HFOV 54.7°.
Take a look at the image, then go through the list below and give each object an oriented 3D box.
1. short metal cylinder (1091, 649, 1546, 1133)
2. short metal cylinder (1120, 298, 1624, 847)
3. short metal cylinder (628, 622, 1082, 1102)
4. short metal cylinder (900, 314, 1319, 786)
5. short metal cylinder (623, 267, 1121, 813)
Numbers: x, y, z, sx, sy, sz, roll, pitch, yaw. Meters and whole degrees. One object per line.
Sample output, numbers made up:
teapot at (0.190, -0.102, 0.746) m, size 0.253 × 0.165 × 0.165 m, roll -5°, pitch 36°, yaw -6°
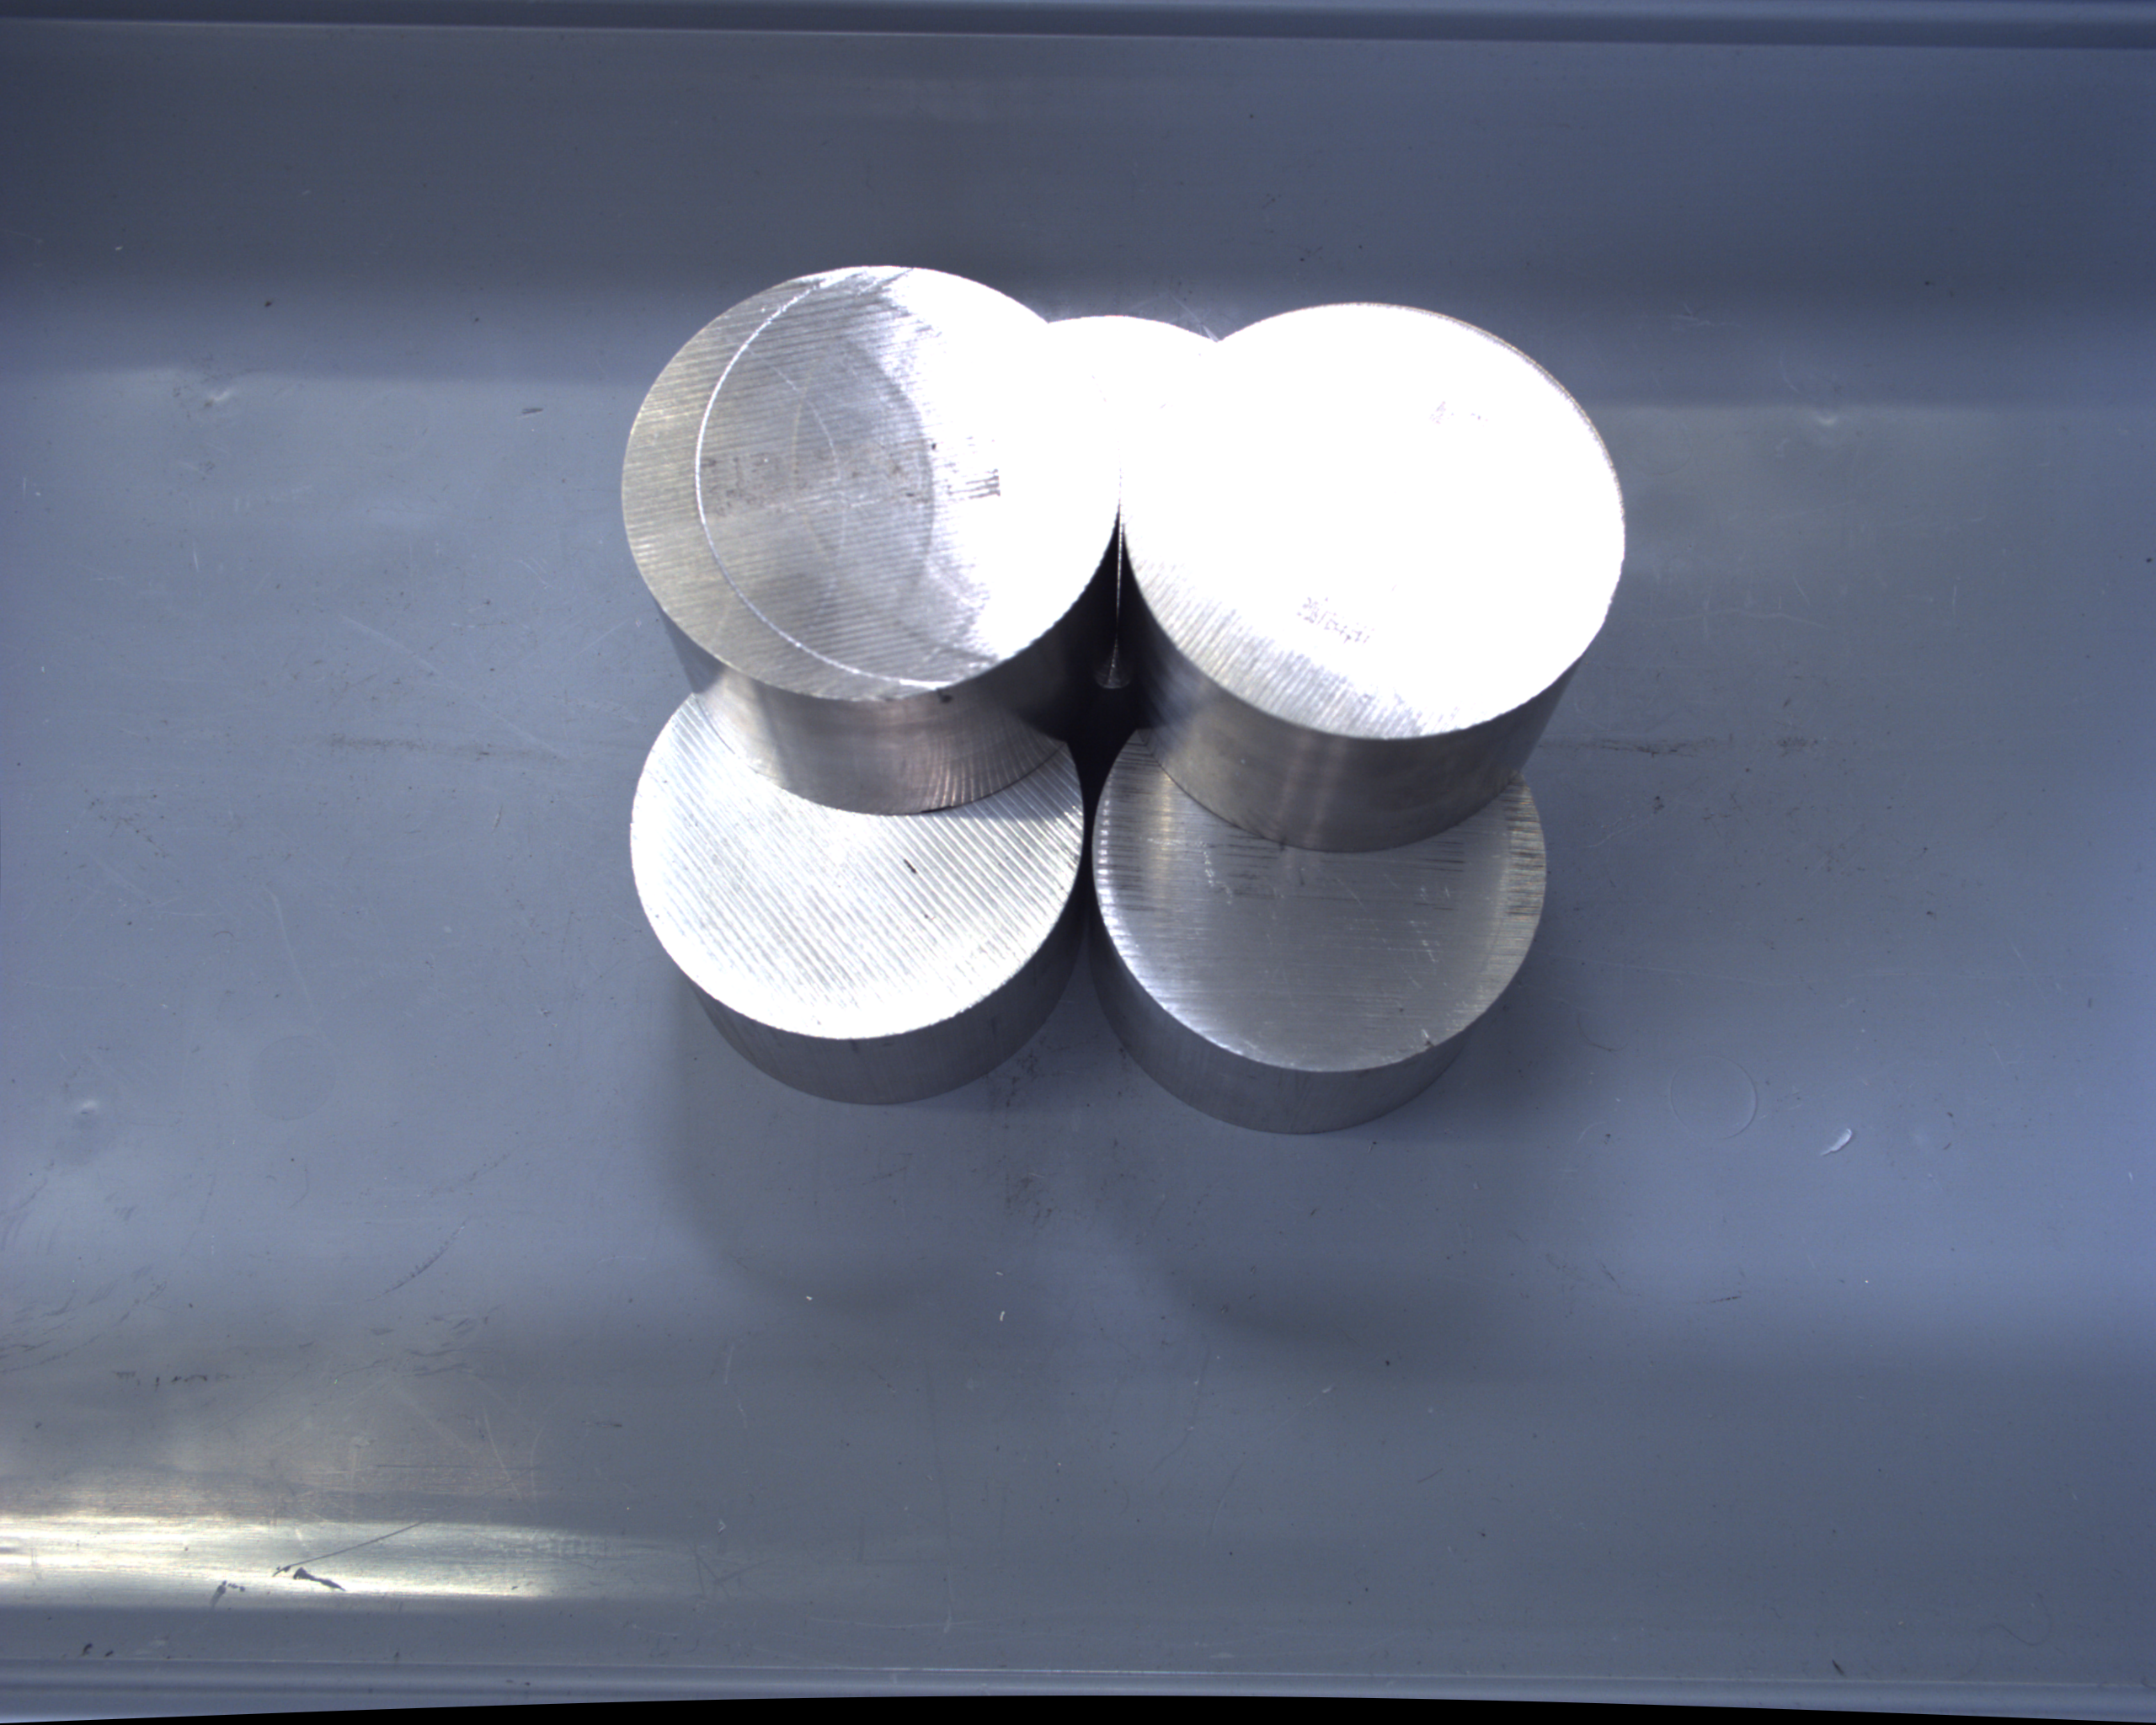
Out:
short metal cylinder at (0.043, 0.006, 0.392) m, size 0.081 × 0.050 × 0.080 m, roll 0°, pitch 70°, yaw 0°
short metal cylinder at (0.047, -0.049, 0.359) m, size 0.081 × 0.050 × 0.080 m, roll 0°, pitch 70°, yaw 0°
short metal cylinder at (-0.039, 0.001, 0.394) m, size 0.081 × 0.050 × 0.080 m, roll 0°, pitch 70°, yaw 0°
short metal cylinder at (0.006, -0.061, 0.417) m, size 0.081 × 0.050 × 0.080 m, roll 0°, pitch 70°, yaw 0°
short metal cylinder at (-0.033, -0.055, 0.361) m, size 0.081 × 0.050 × 0.080 m, roll 0°, pitch 70°, yaw 0°
